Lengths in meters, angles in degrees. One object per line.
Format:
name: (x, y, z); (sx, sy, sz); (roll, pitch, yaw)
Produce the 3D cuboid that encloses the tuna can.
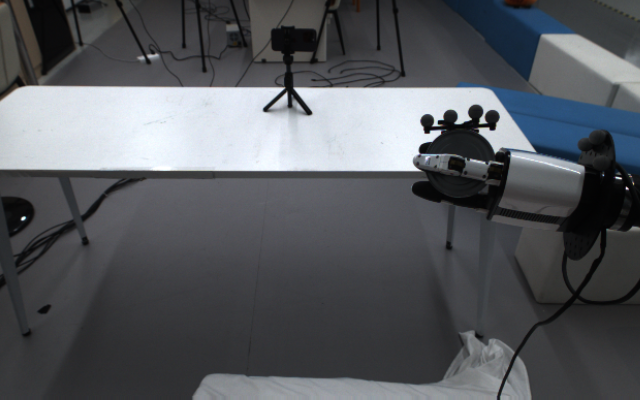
tuna can: (0.179, -0.047, 0.618); (0.085, 0.085, 0.034); (16, 1, 19)
